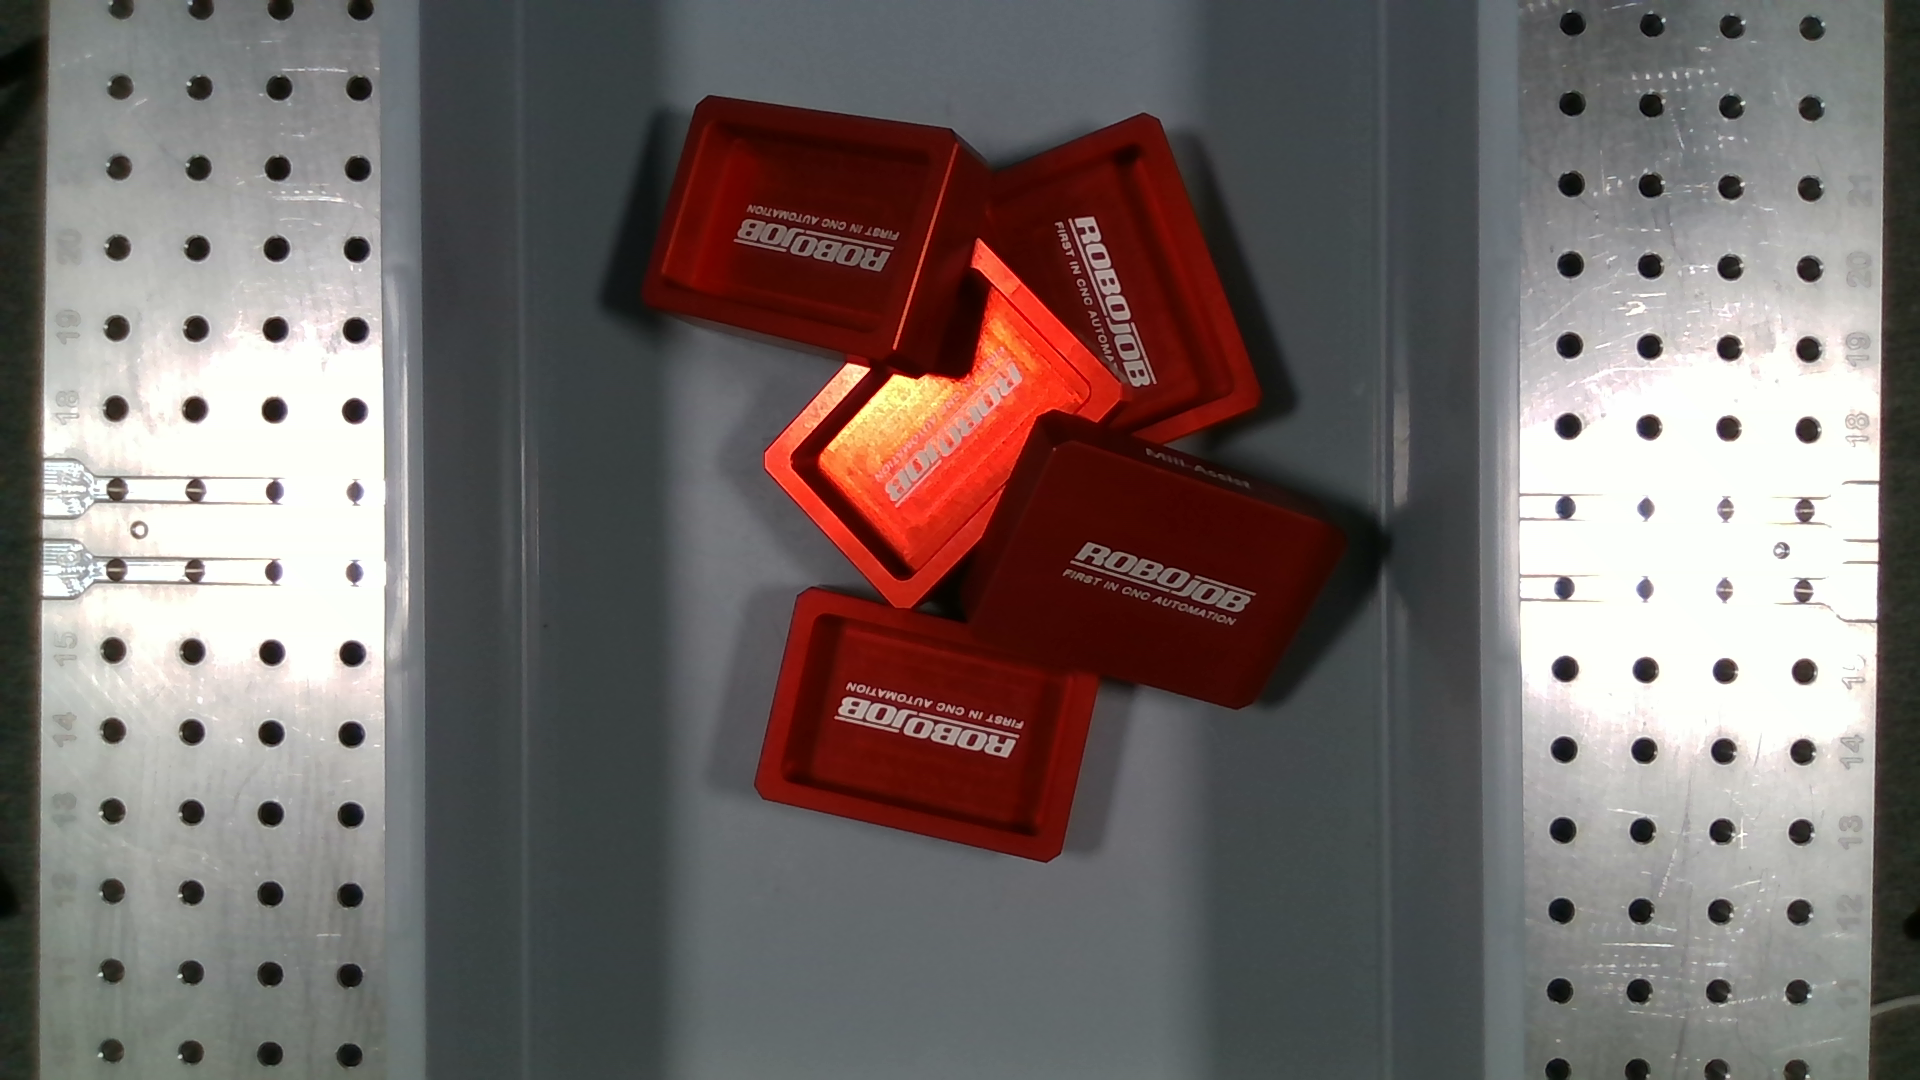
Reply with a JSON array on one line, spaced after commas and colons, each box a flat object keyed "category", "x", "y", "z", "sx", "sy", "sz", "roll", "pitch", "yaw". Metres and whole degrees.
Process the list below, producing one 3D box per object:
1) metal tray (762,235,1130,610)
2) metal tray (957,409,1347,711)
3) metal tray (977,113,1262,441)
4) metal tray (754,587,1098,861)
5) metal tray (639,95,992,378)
[{"category": "metal tray", "x": -0.006, "y": -0.047, "z": 0.561, "sx": 0.130, "sy": 0.030, "sz": 0.090, "roll": -45, "pitch": 84, "yaw": 15}, {"category": "metal tray", "x": 0.076, "y": 0.011, "z": 0.549, "sx": 0.130, "sy": 0.030, "sz": 0.090, "roll": 17, "pitch": 114, "yaw": -19}, {"category": "metal tray", "x": 0.061, "y": -0.101, "z": 0.582, "sx": 0.090, "sy": 0.030, "sz": 0.130, "roll": -21, "pitch": 91, "yaw": 0}, {"category": "metal tray", "x": -0.013, "y": 0.076, "z": 0.584, "sx": 0.130, "sy": 0.030, "sz": 0.090, "roll": 12, "pitch": 90, "yaw": 0}, {"category": "metal tray", "x": -0.060, "y": -0.123, "z": 0.553, "sx": 0.130, "sy": 0.030, "sz": 0.090, "roll": 17, "pitch": 90, "yaw": 28}]
